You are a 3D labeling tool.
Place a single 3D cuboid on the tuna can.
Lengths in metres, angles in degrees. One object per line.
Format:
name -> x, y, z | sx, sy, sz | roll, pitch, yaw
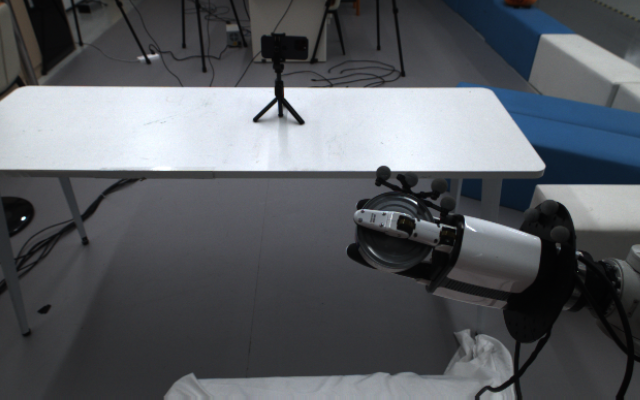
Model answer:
tuna can -> 0.084, 0.033, 0.534 | 0.085, 0.034, 0.085 | 0, 72, 0
